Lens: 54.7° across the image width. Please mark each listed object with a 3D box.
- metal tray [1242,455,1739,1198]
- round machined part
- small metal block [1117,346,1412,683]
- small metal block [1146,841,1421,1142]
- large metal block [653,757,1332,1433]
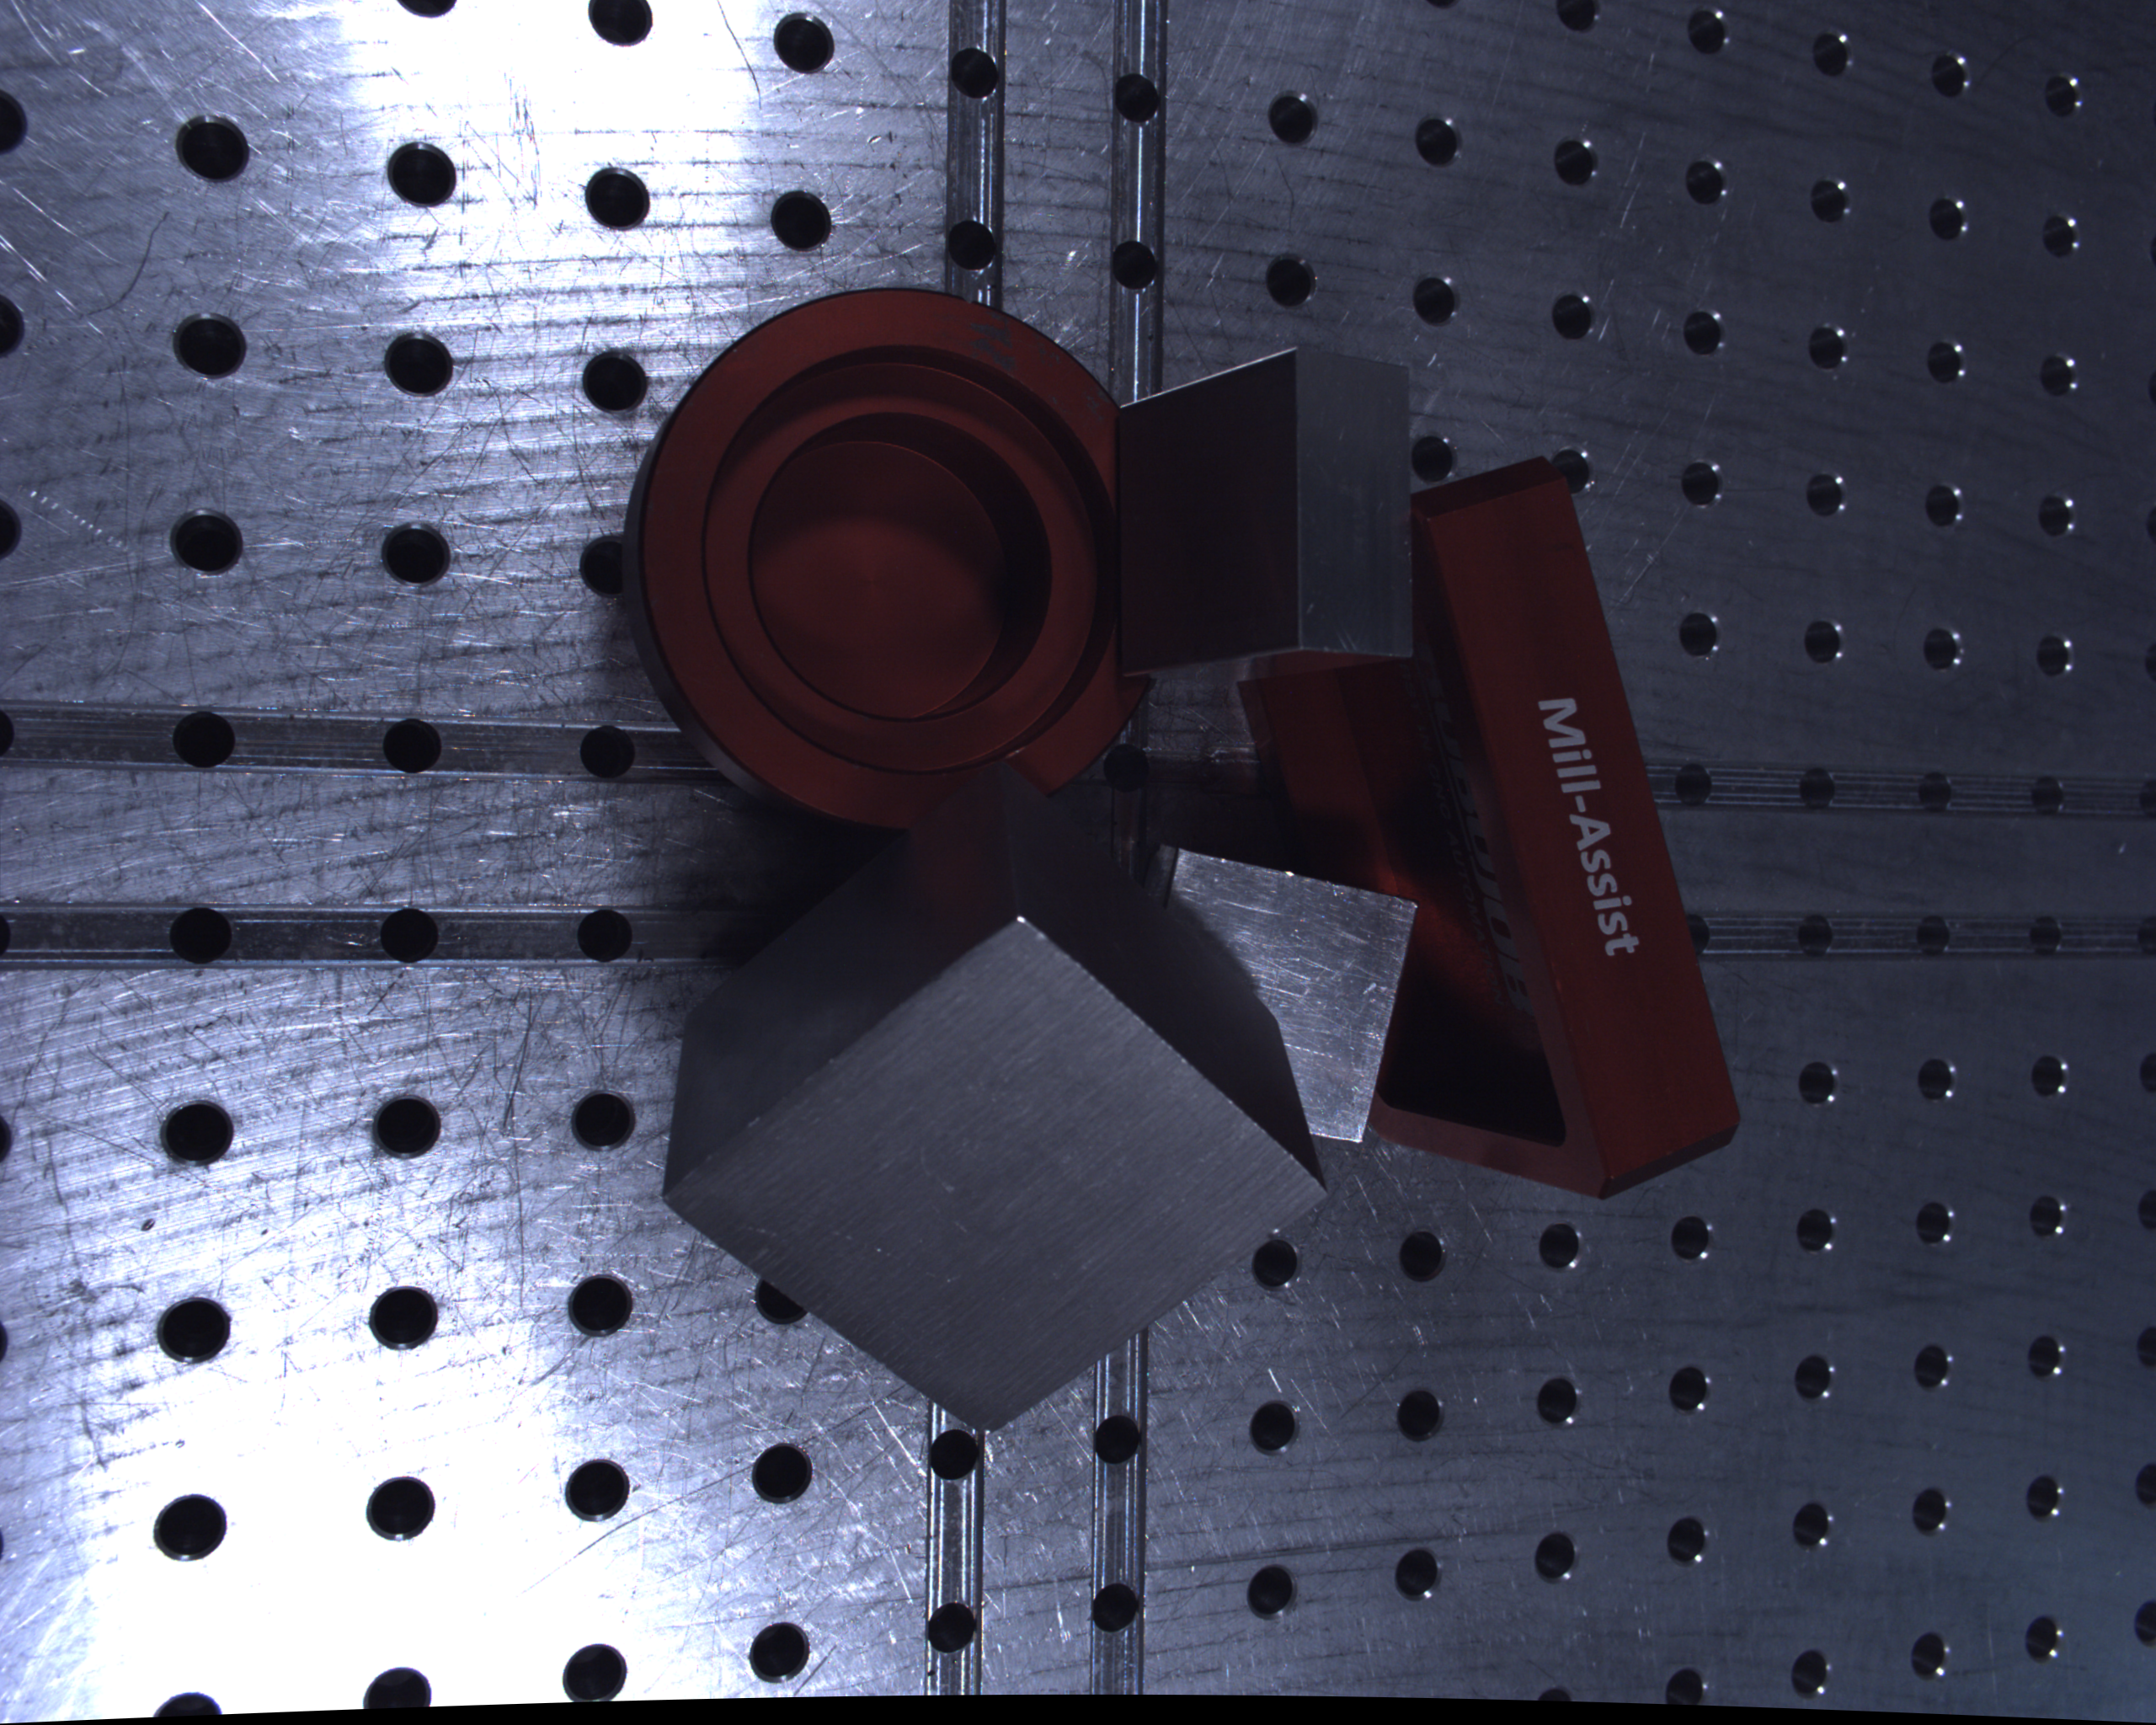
[{"bbox_3d":[0.074,-0.006,0.407,0.030,0.090,0.129,-19,97,-19],"label":"metal tray"},{"bbox_3d":[-0.036,-0.054,0.391,0.099,0.042,0.097,0,90,-21],"label":"round machined part"},{"bbox_3d":[0.032,-0.059,0.368,0.025,0.050,0.050,0,89,-35],"label":"small metal block"},{"bbox_3d":[0.037,0.026,0.422,0.050,0.025,0.050,12,90,-9],"label":"small metal block"},{"bbox_3d":[-0.016,0.042,0.370,0.080,0.050,0.080,-38,118,16],"label":"large metal block"}]
